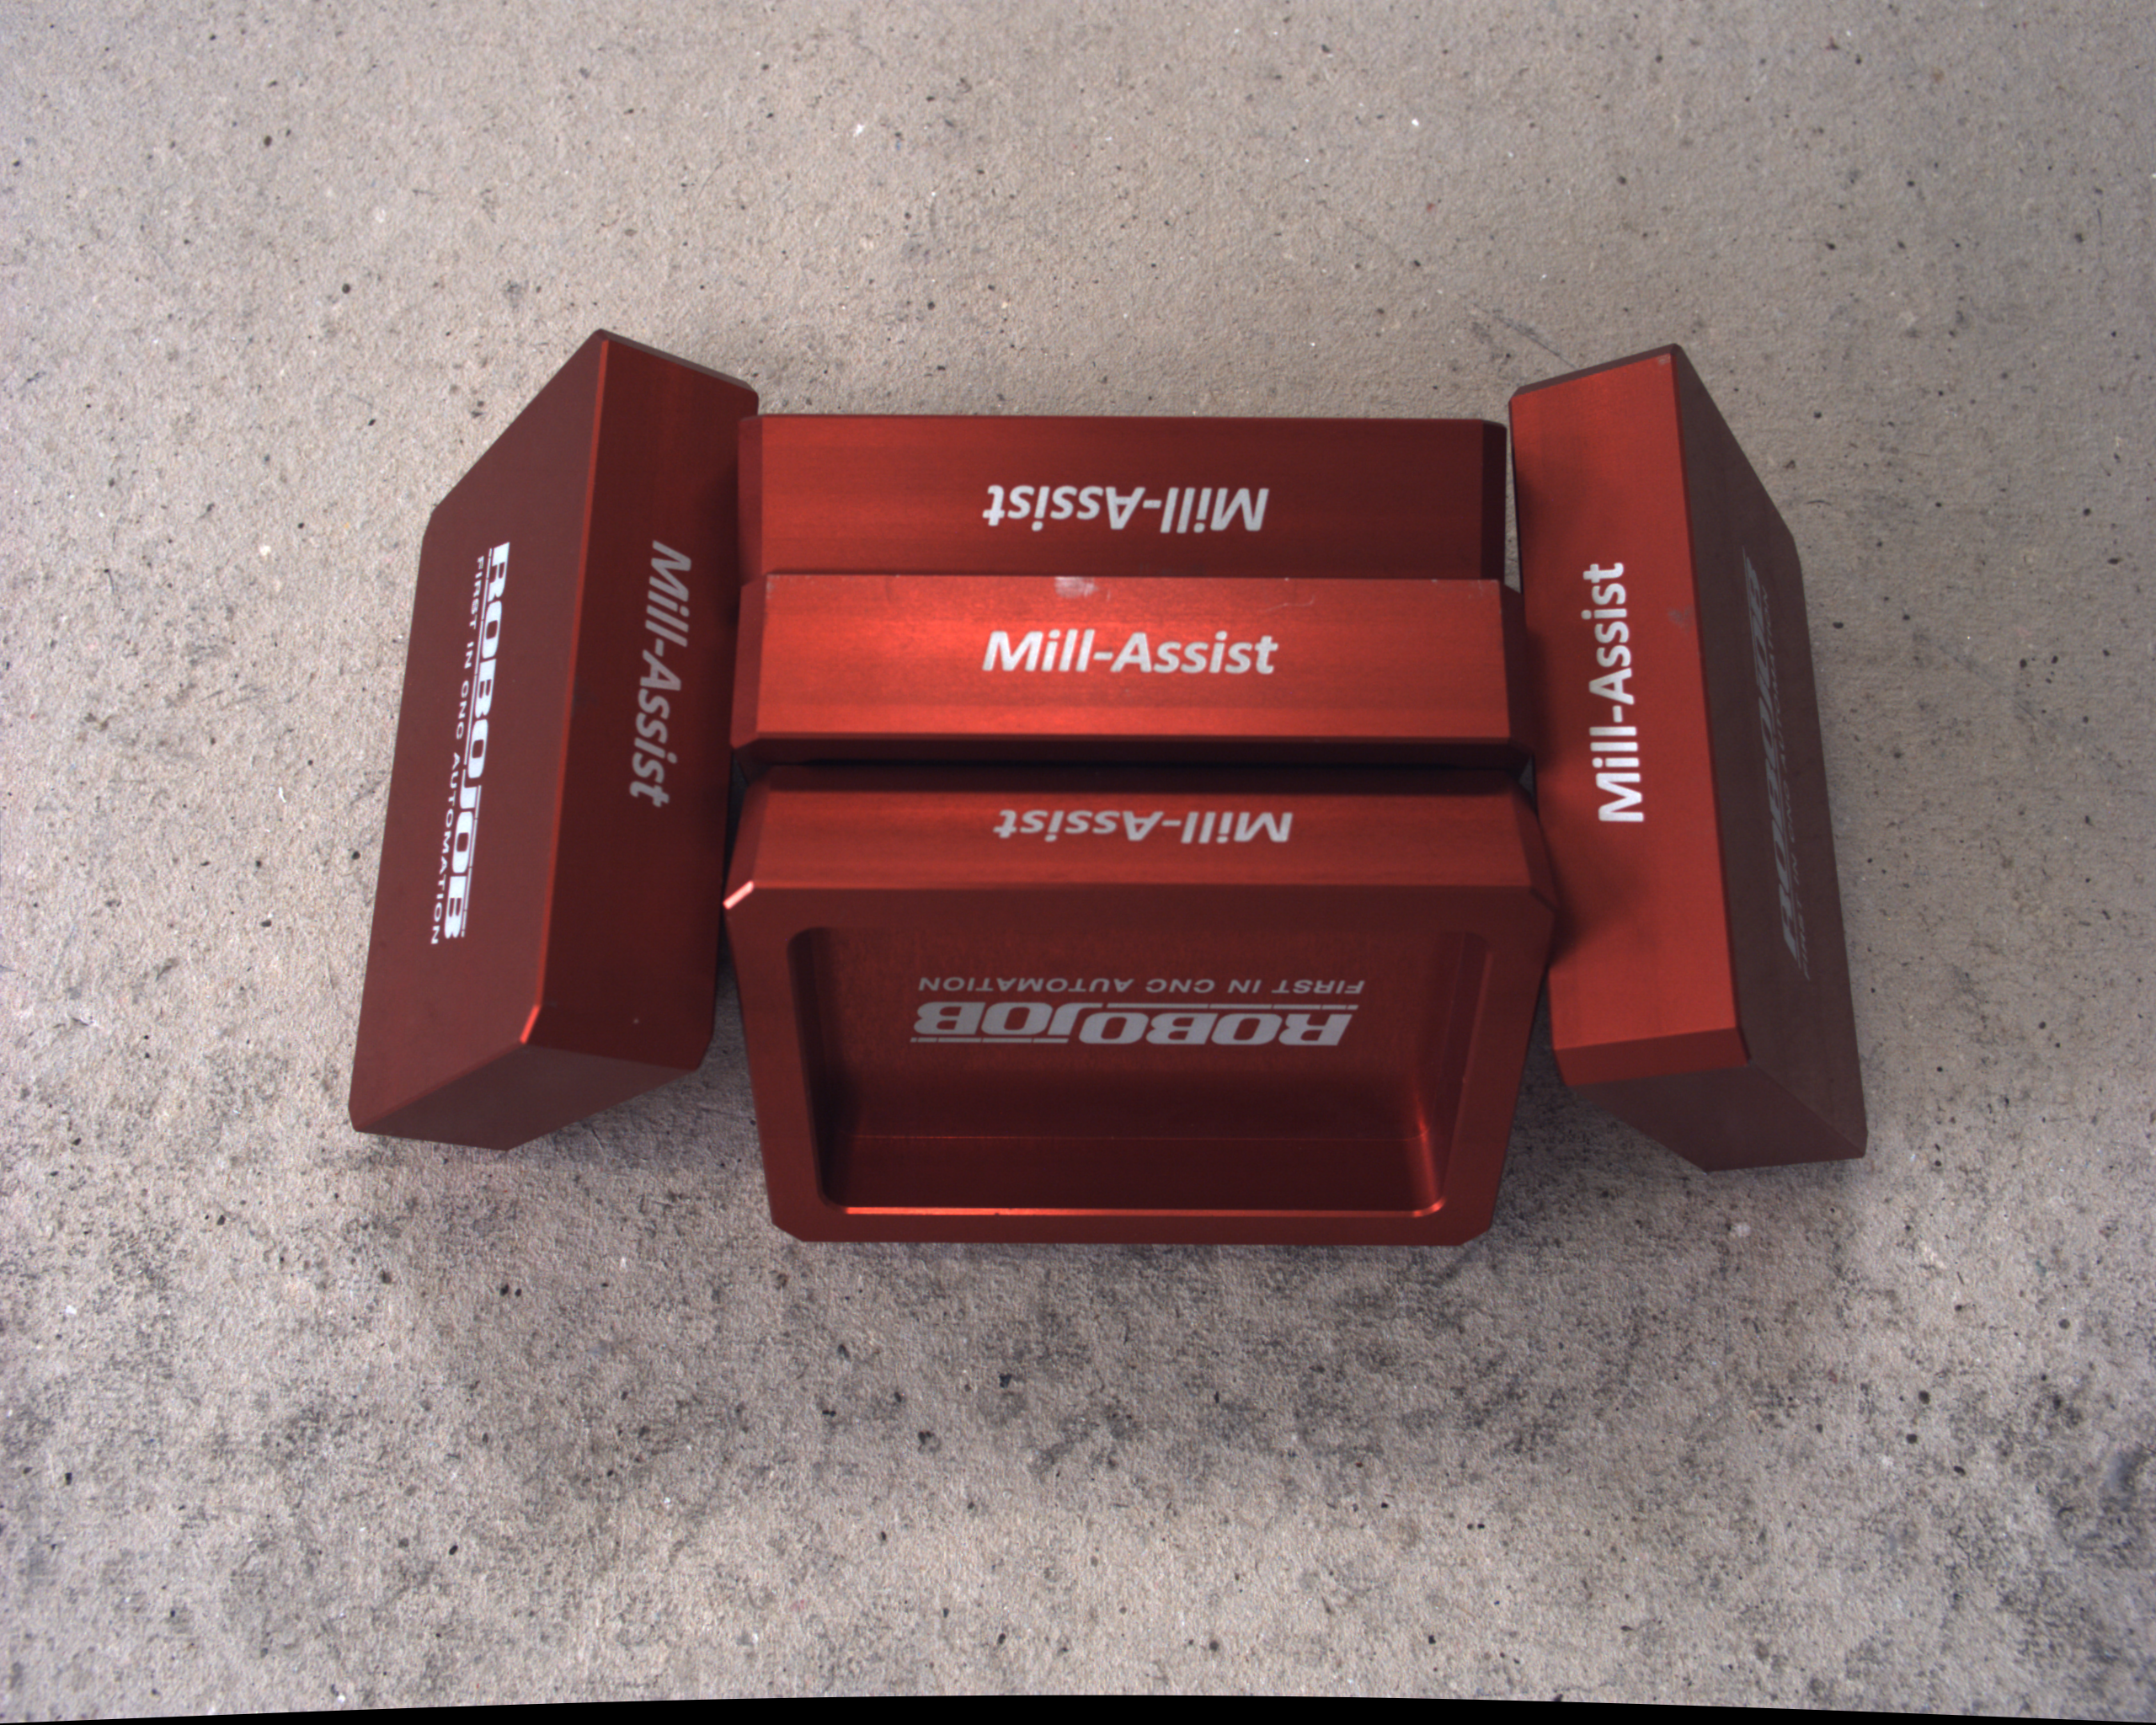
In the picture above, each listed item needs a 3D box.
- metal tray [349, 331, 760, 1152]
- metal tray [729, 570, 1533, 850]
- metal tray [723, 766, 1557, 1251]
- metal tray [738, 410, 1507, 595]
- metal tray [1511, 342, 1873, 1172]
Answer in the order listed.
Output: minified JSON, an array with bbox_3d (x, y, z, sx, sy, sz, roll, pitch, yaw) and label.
[{"bbox_3d":[-0.096,-0.019,0.382,0.030,0.090,0.130,15,66,-34],"label":"metal tray"},{"bbox_3d":[0.009,-0.019,0.381,0.131,0.090,0.030,0,70,0],"label":"metal tray"},{"bbox_3d":[0.010,0.028,0.364,0.131,0.089,0.030,1,41,0],"label":"metal tray"},{"bbox_3d":[0.008,-0.063,0.395,0.131,0.090,0.030,0,92,0],"label":"metal tray"},{"bbox_3d":[0.113,-0.016,0.380,0.030,0.090,0.130,-11,67,30],"label":"metal tray"}]
